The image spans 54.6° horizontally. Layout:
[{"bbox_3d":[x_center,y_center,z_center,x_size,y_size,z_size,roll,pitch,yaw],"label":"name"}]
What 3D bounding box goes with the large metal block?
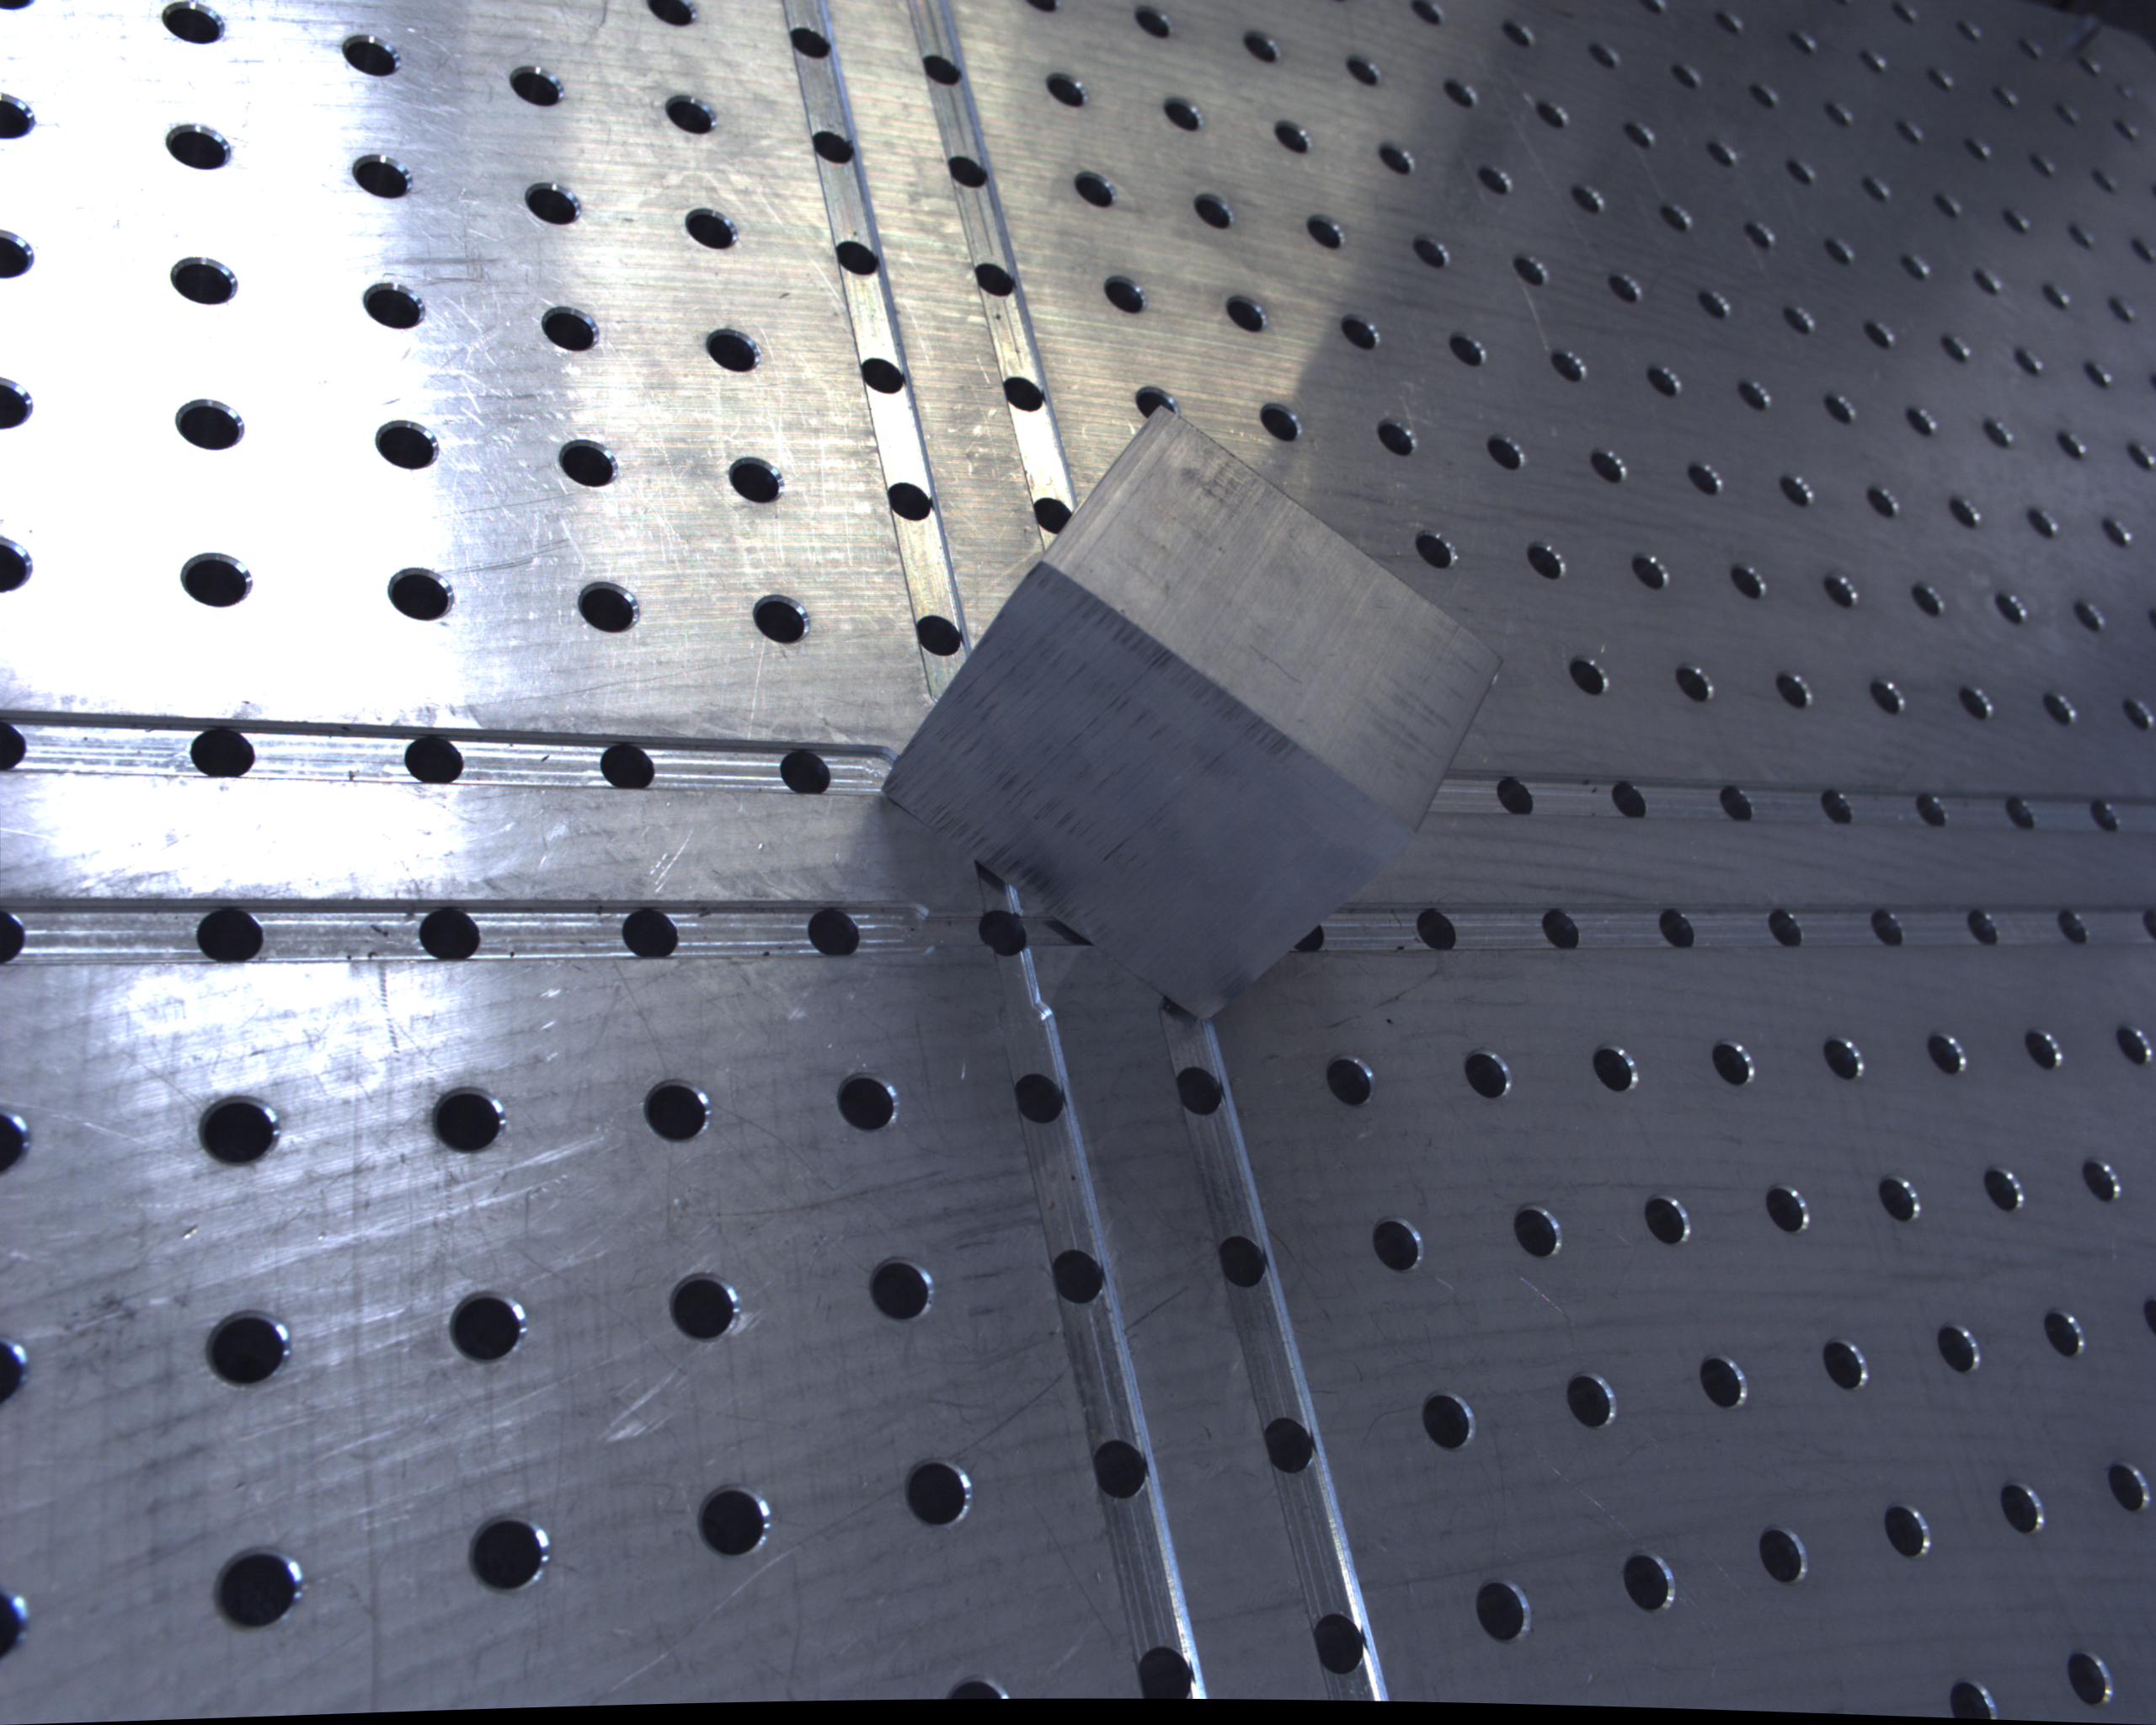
[{"bbox_3d":[0.020,-0.026,0.399,0.080,0.080,0.050,36,51,-5],"label":"large metal block"}]
